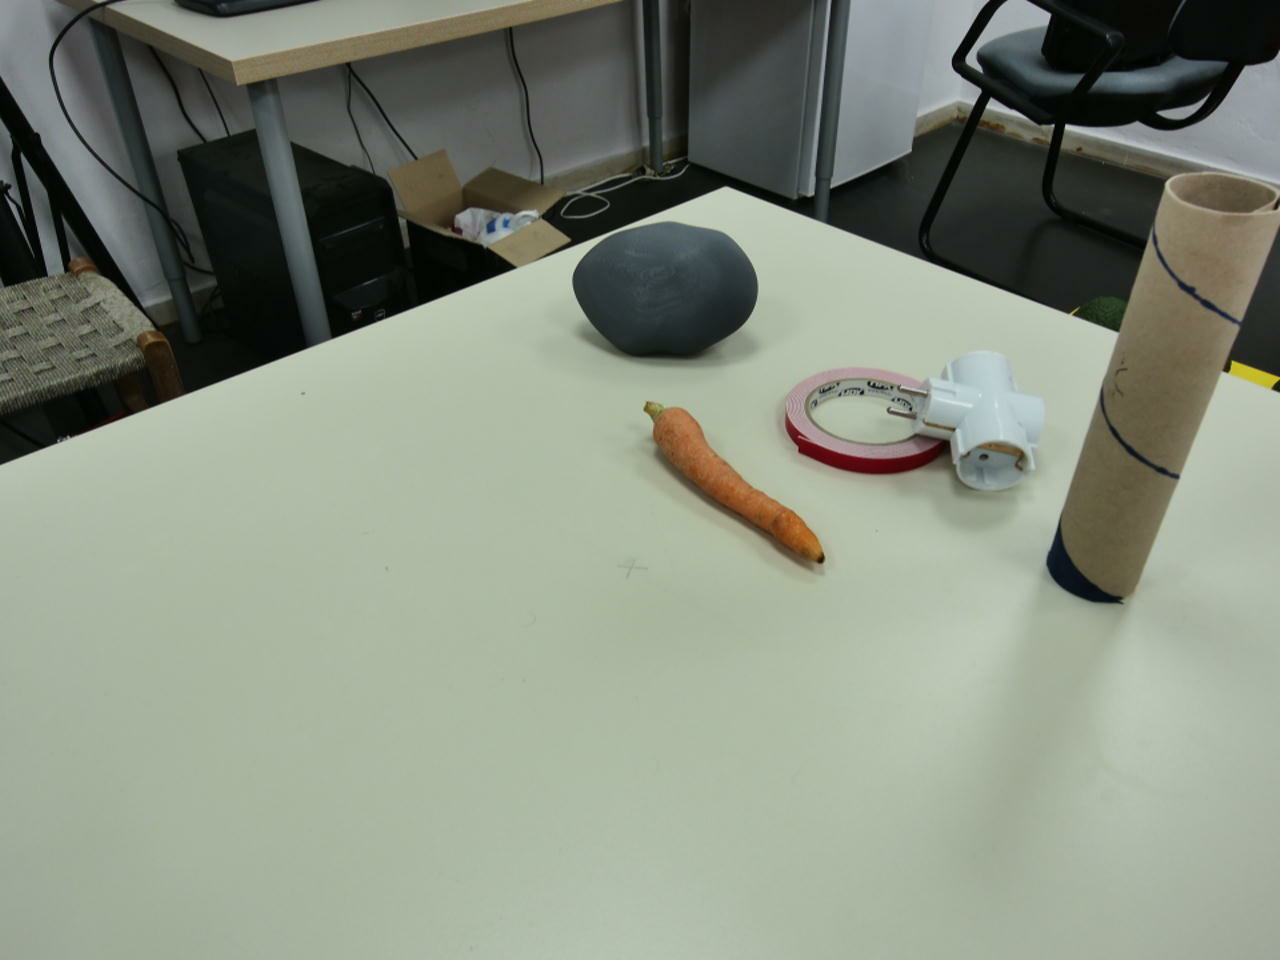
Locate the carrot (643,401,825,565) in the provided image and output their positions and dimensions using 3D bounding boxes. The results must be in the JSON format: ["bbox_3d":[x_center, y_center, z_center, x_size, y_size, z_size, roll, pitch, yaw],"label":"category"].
[{"bbox_3d":[0.054,-0.002,0.615,0.030,0.032,0.173,-21,41,-25],"label":"carrot"}]
